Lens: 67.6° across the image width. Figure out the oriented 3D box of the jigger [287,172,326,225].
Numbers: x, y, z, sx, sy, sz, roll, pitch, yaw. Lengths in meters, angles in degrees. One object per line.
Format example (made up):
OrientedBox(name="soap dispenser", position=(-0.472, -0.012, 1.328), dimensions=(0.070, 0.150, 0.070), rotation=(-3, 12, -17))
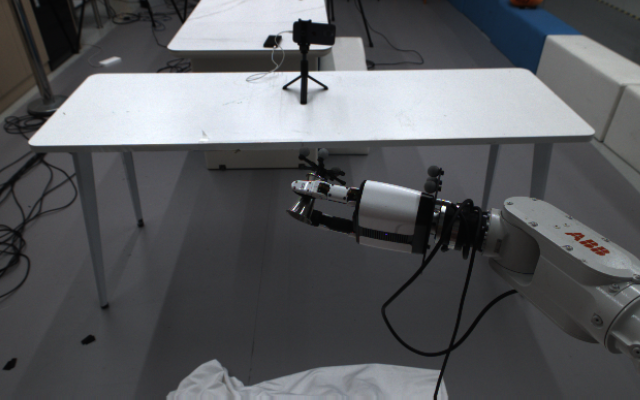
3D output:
OrientedBox(name="jigger", position=(-0.020, -0.006, 0.744), dimensions=(0.043, 0.043, 0.071), rotation=(21, 74, 25))
